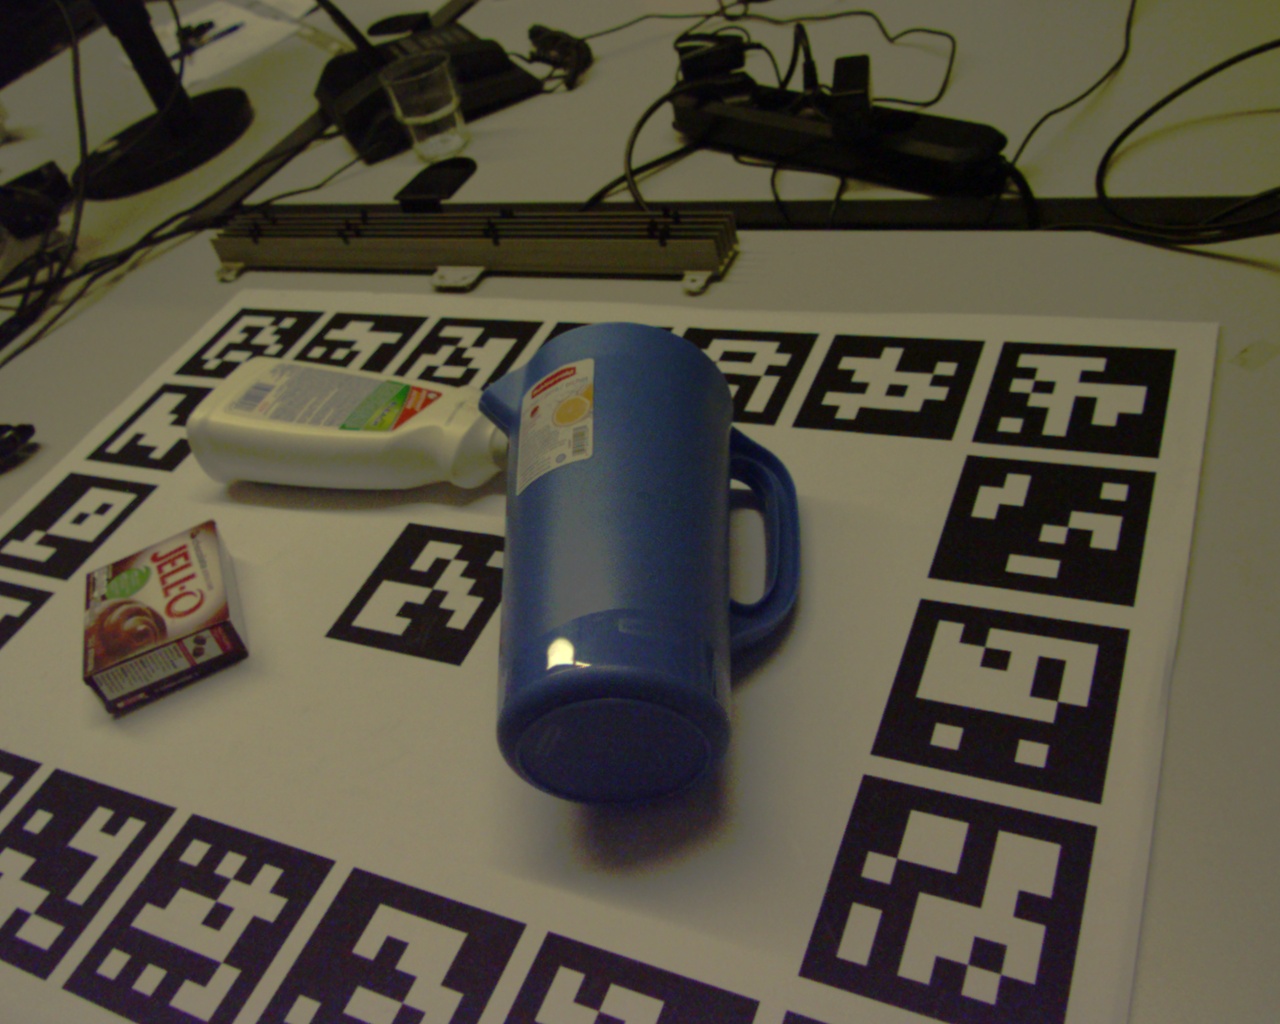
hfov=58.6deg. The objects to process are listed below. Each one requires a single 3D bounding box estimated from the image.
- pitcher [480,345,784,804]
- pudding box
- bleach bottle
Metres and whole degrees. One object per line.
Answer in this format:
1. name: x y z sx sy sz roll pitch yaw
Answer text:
1. pitcher: -0.003 0.034 0.638 0.187 0.134 0.243 13 46 -16
2. pudding box: -0.311 0.061 0.757 0.089 0.038 0.115 -20 43 -10
3. bleach bottle: -0.193 -0.059 0.830 0.253 0.067 0.102 6 52 23
